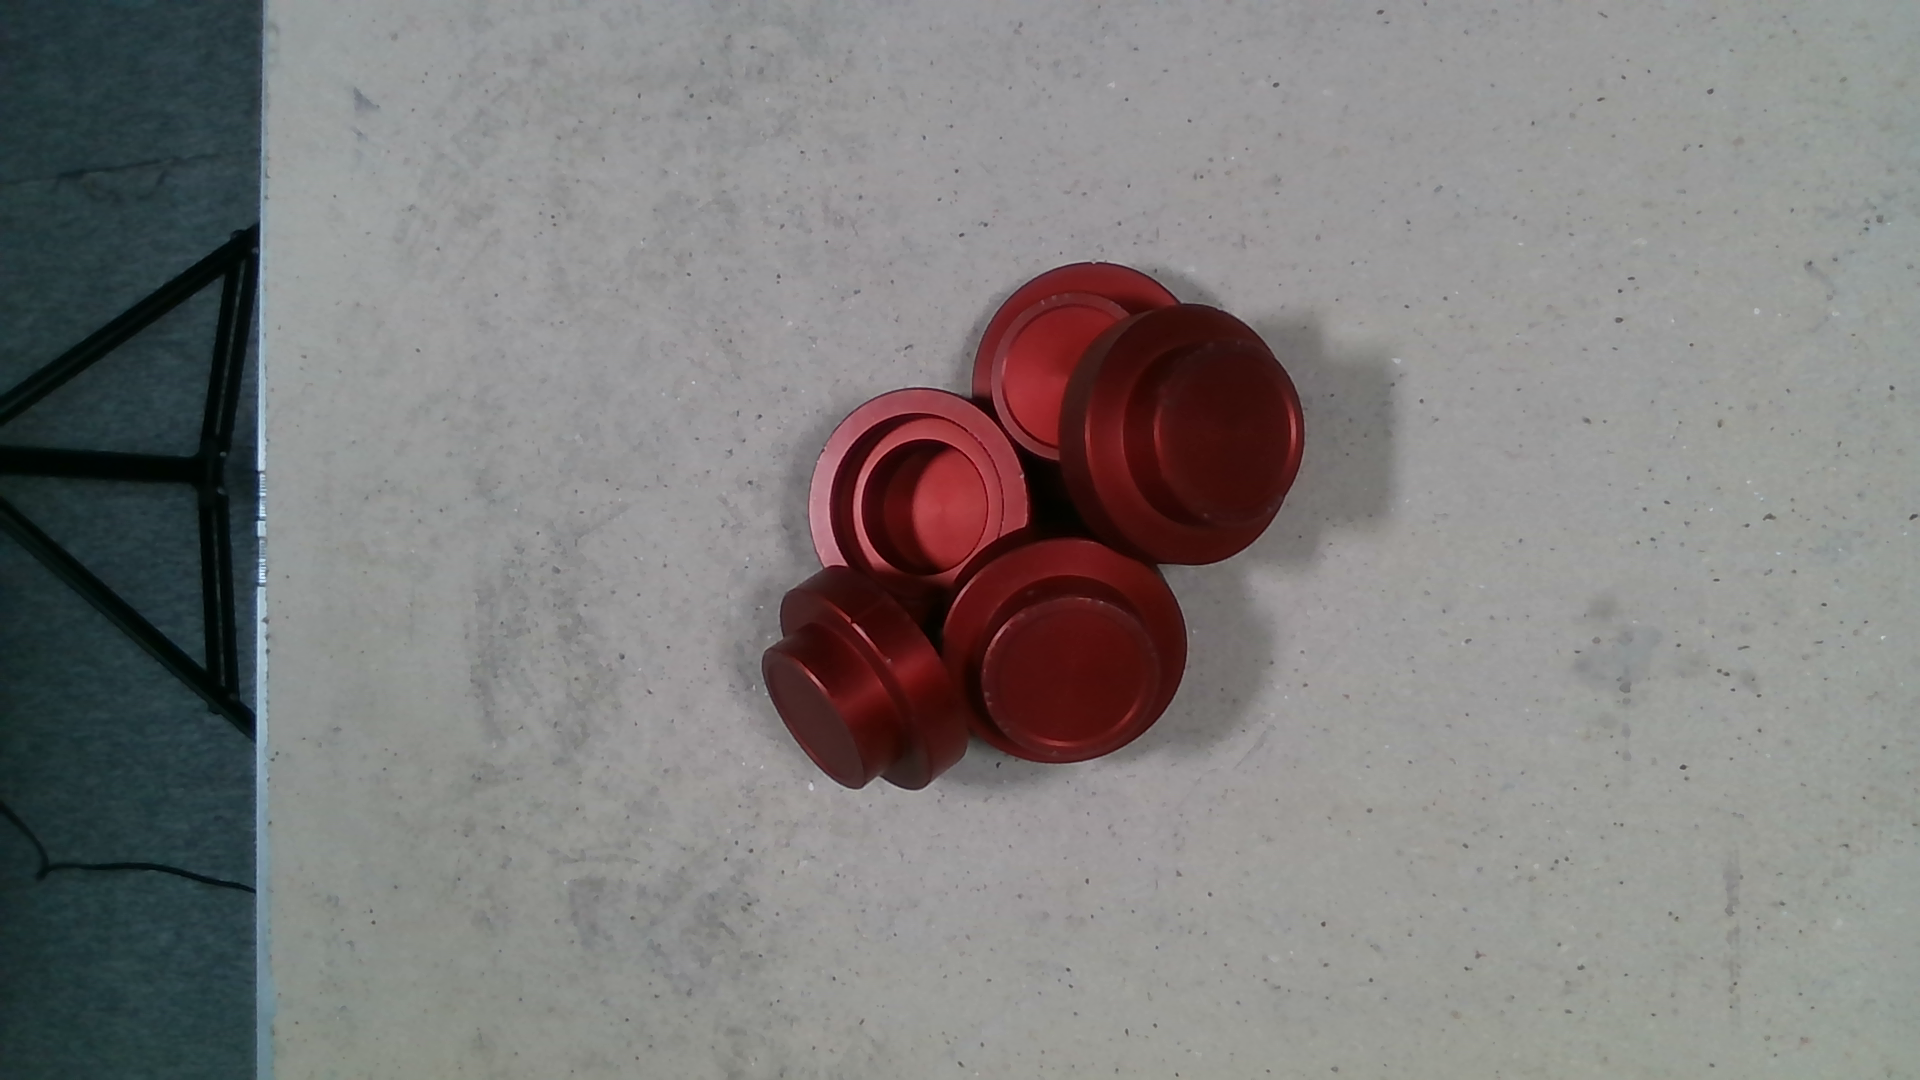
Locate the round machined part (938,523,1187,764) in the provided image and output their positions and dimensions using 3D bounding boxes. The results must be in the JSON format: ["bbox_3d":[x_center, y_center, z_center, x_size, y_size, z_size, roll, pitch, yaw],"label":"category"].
[{"bbox_3d":[0.041,0.046,0.539,0.098,0.042,0.098,-1,111,-3],"label":"round machined part"}]

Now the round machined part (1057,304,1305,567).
[{"bbox_3d":[0.089,-0.039,0.512,0.042,0.098,0.098,2,92,62],"label":"round machined part"}]

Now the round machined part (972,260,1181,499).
[{"bbox_3d":[0.051,-0.065,0.559,0.098,0.042,0.098,0,91,20],"label":"round machined part"}]

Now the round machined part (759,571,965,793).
[{"bbox_3d":[-0.045,0.064,0.565,0.042,0.098,0.098,-35,75,-25],"label":"round machined part"}]

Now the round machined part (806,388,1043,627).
[{"bbox_3d":[-0.012,-0.013,0.581,0.098,0.042,0.098,0,91,20],"label":"round machined part"}]
